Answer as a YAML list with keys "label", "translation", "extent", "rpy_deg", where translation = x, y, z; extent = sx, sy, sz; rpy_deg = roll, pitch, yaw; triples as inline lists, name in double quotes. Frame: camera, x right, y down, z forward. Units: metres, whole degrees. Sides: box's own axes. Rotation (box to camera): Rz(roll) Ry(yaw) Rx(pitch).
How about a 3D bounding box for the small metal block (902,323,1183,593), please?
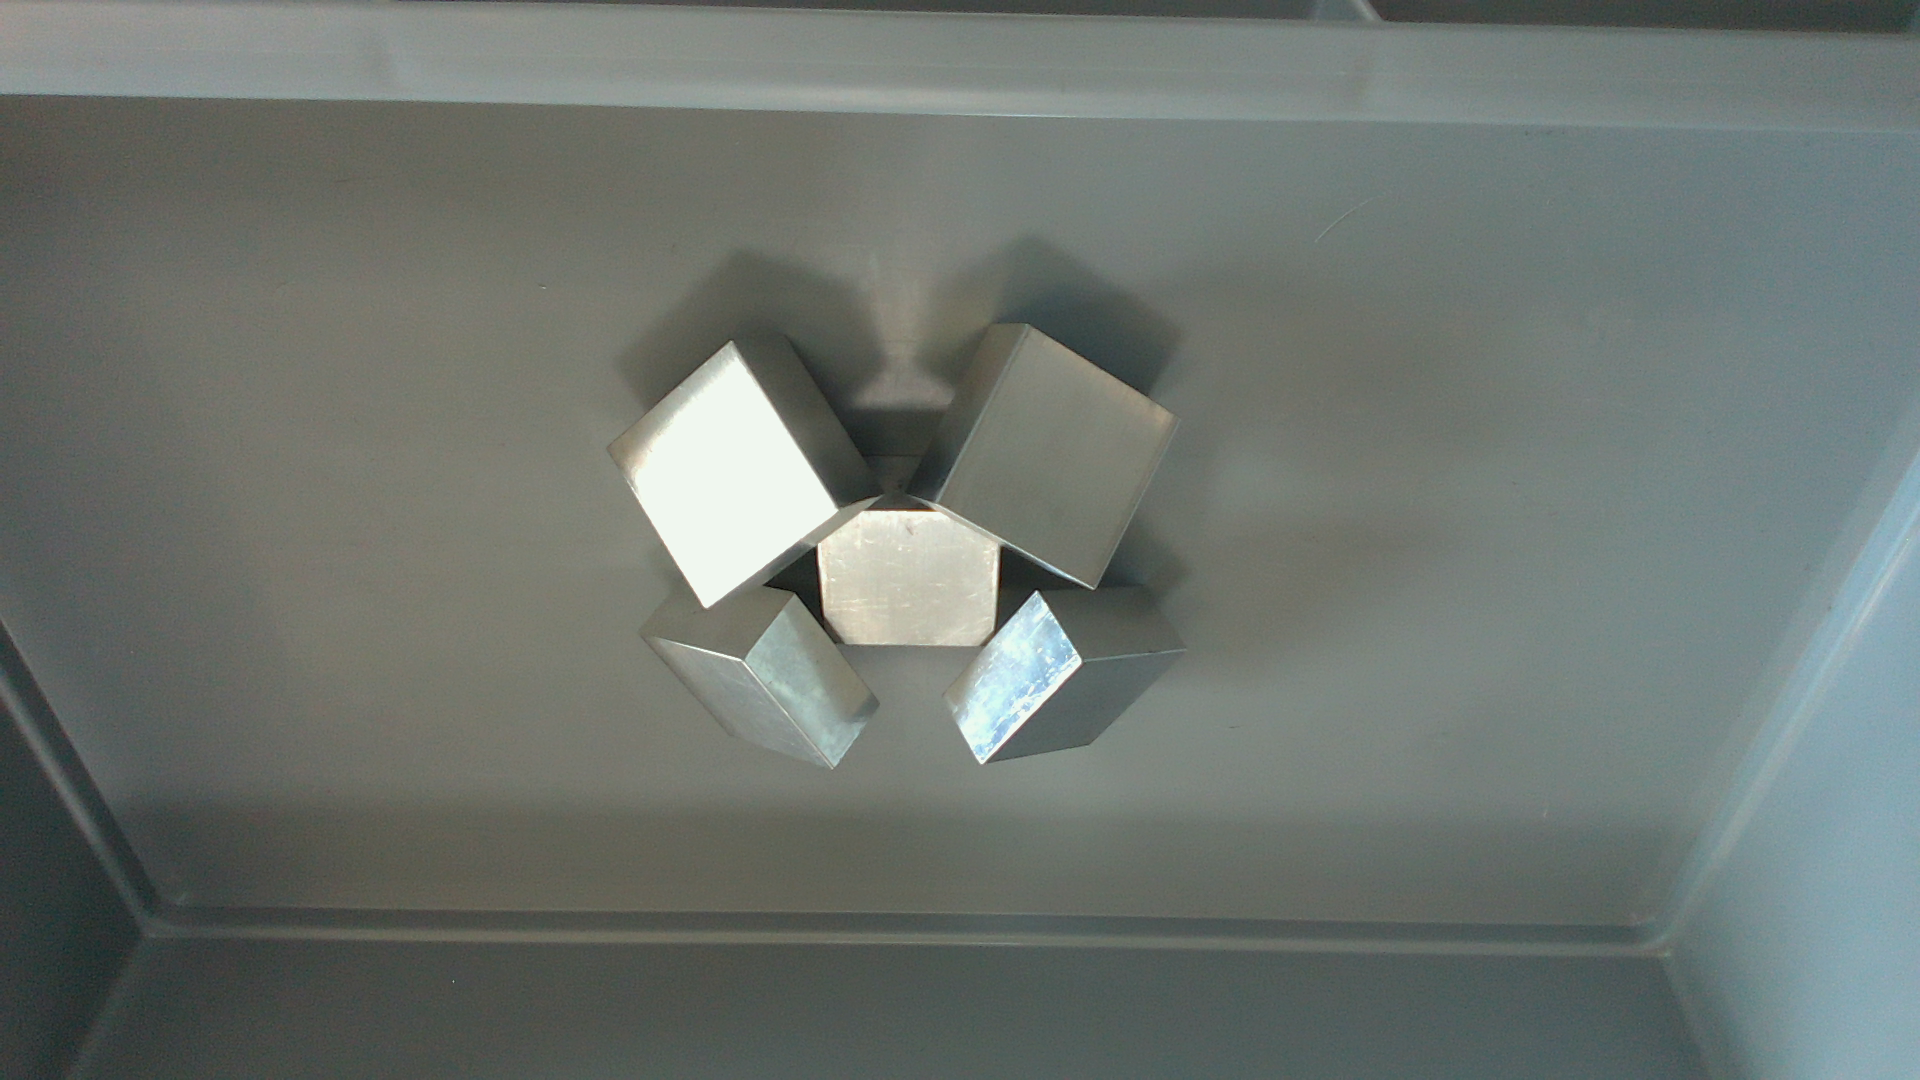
- label: "small metal block"
  translation: [0.021, -0.021, 0.355]
  extent: [0.050, 0.025, 0.050]
  rpy_deg: [28, 87, -22]

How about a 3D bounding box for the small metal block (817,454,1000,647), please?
- label: "small metal block"
  translation: [-0.014, 0.003, 0.390]
  extent: [0.050, 0.025, 0.050]
  rpy_deg: [1, 130, -1]

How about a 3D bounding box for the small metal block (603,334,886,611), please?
- label: "small metal block"
  translation: [-0.056, -0.018, 0.357]
  extent: [0.050, 0.025, 0.050]
  rpy_deg: [-35, 85, 26]

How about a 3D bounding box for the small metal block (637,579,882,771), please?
- label: "small metal block"
  translation: [-0.059, 0.037, 0.404]
  extent: [0.050, 0.025, 0.050]
  rpy_deg: [10, 143, 44]

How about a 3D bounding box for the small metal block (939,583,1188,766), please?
- label: "small metal block"
  translation: [0.031, 0.039, 0.407]
  extent: [0.050, 0.025, 0.050]
  rpy_deg: [-1, 141, -46]
